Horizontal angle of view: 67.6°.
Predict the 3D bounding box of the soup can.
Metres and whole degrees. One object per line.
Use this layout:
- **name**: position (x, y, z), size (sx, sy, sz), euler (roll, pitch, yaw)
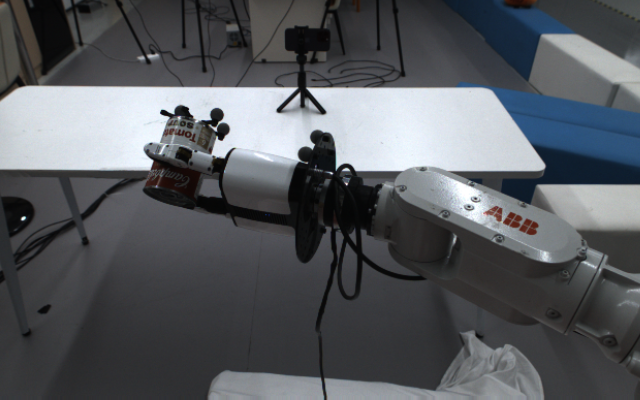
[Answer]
- **soup can**: position (-0.180, -0.048, 0.629), size (0.067, 0.067, 0.101), euler (9, 71, 9)
